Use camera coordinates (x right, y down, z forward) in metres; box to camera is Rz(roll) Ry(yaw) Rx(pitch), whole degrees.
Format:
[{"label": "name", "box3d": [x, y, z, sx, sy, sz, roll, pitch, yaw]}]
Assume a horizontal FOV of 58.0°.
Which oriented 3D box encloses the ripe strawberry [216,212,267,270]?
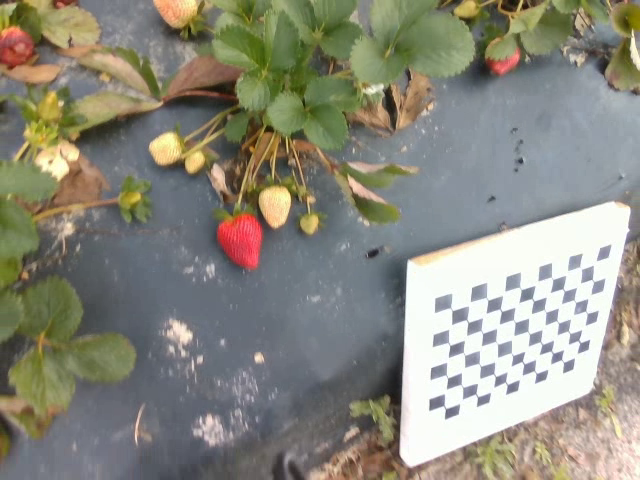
[{"label": "ripe strawberry", "box3d": [-0.071, 0.004, 0.526, 0.050, 0.059, 0.034, -24, -17, -13]}]
